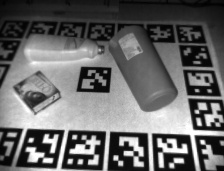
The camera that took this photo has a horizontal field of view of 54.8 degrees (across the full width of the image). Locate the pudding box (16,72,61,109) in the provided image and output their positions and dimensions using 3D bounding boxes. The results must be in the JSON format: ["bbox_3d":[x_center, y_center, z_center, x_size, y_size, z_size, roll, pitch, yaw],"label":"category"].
[{"bbox_3d":[-0.222,0.004,0.648,0.090,0.039,0.113,-34,64,-26],"label":"pudding box"}]

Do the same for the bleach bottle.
[{"bbox_3d":[-0.154,-0.143,0.736,0.251,0.068,0.102,0,61,-2],"label":"bleach bottle"}]

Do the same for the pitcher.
[{"bbox_3d":[0.100,-0.056,0.659,0.191,0.132,0.240,1,55,-41],"label":"pitcher"}]
